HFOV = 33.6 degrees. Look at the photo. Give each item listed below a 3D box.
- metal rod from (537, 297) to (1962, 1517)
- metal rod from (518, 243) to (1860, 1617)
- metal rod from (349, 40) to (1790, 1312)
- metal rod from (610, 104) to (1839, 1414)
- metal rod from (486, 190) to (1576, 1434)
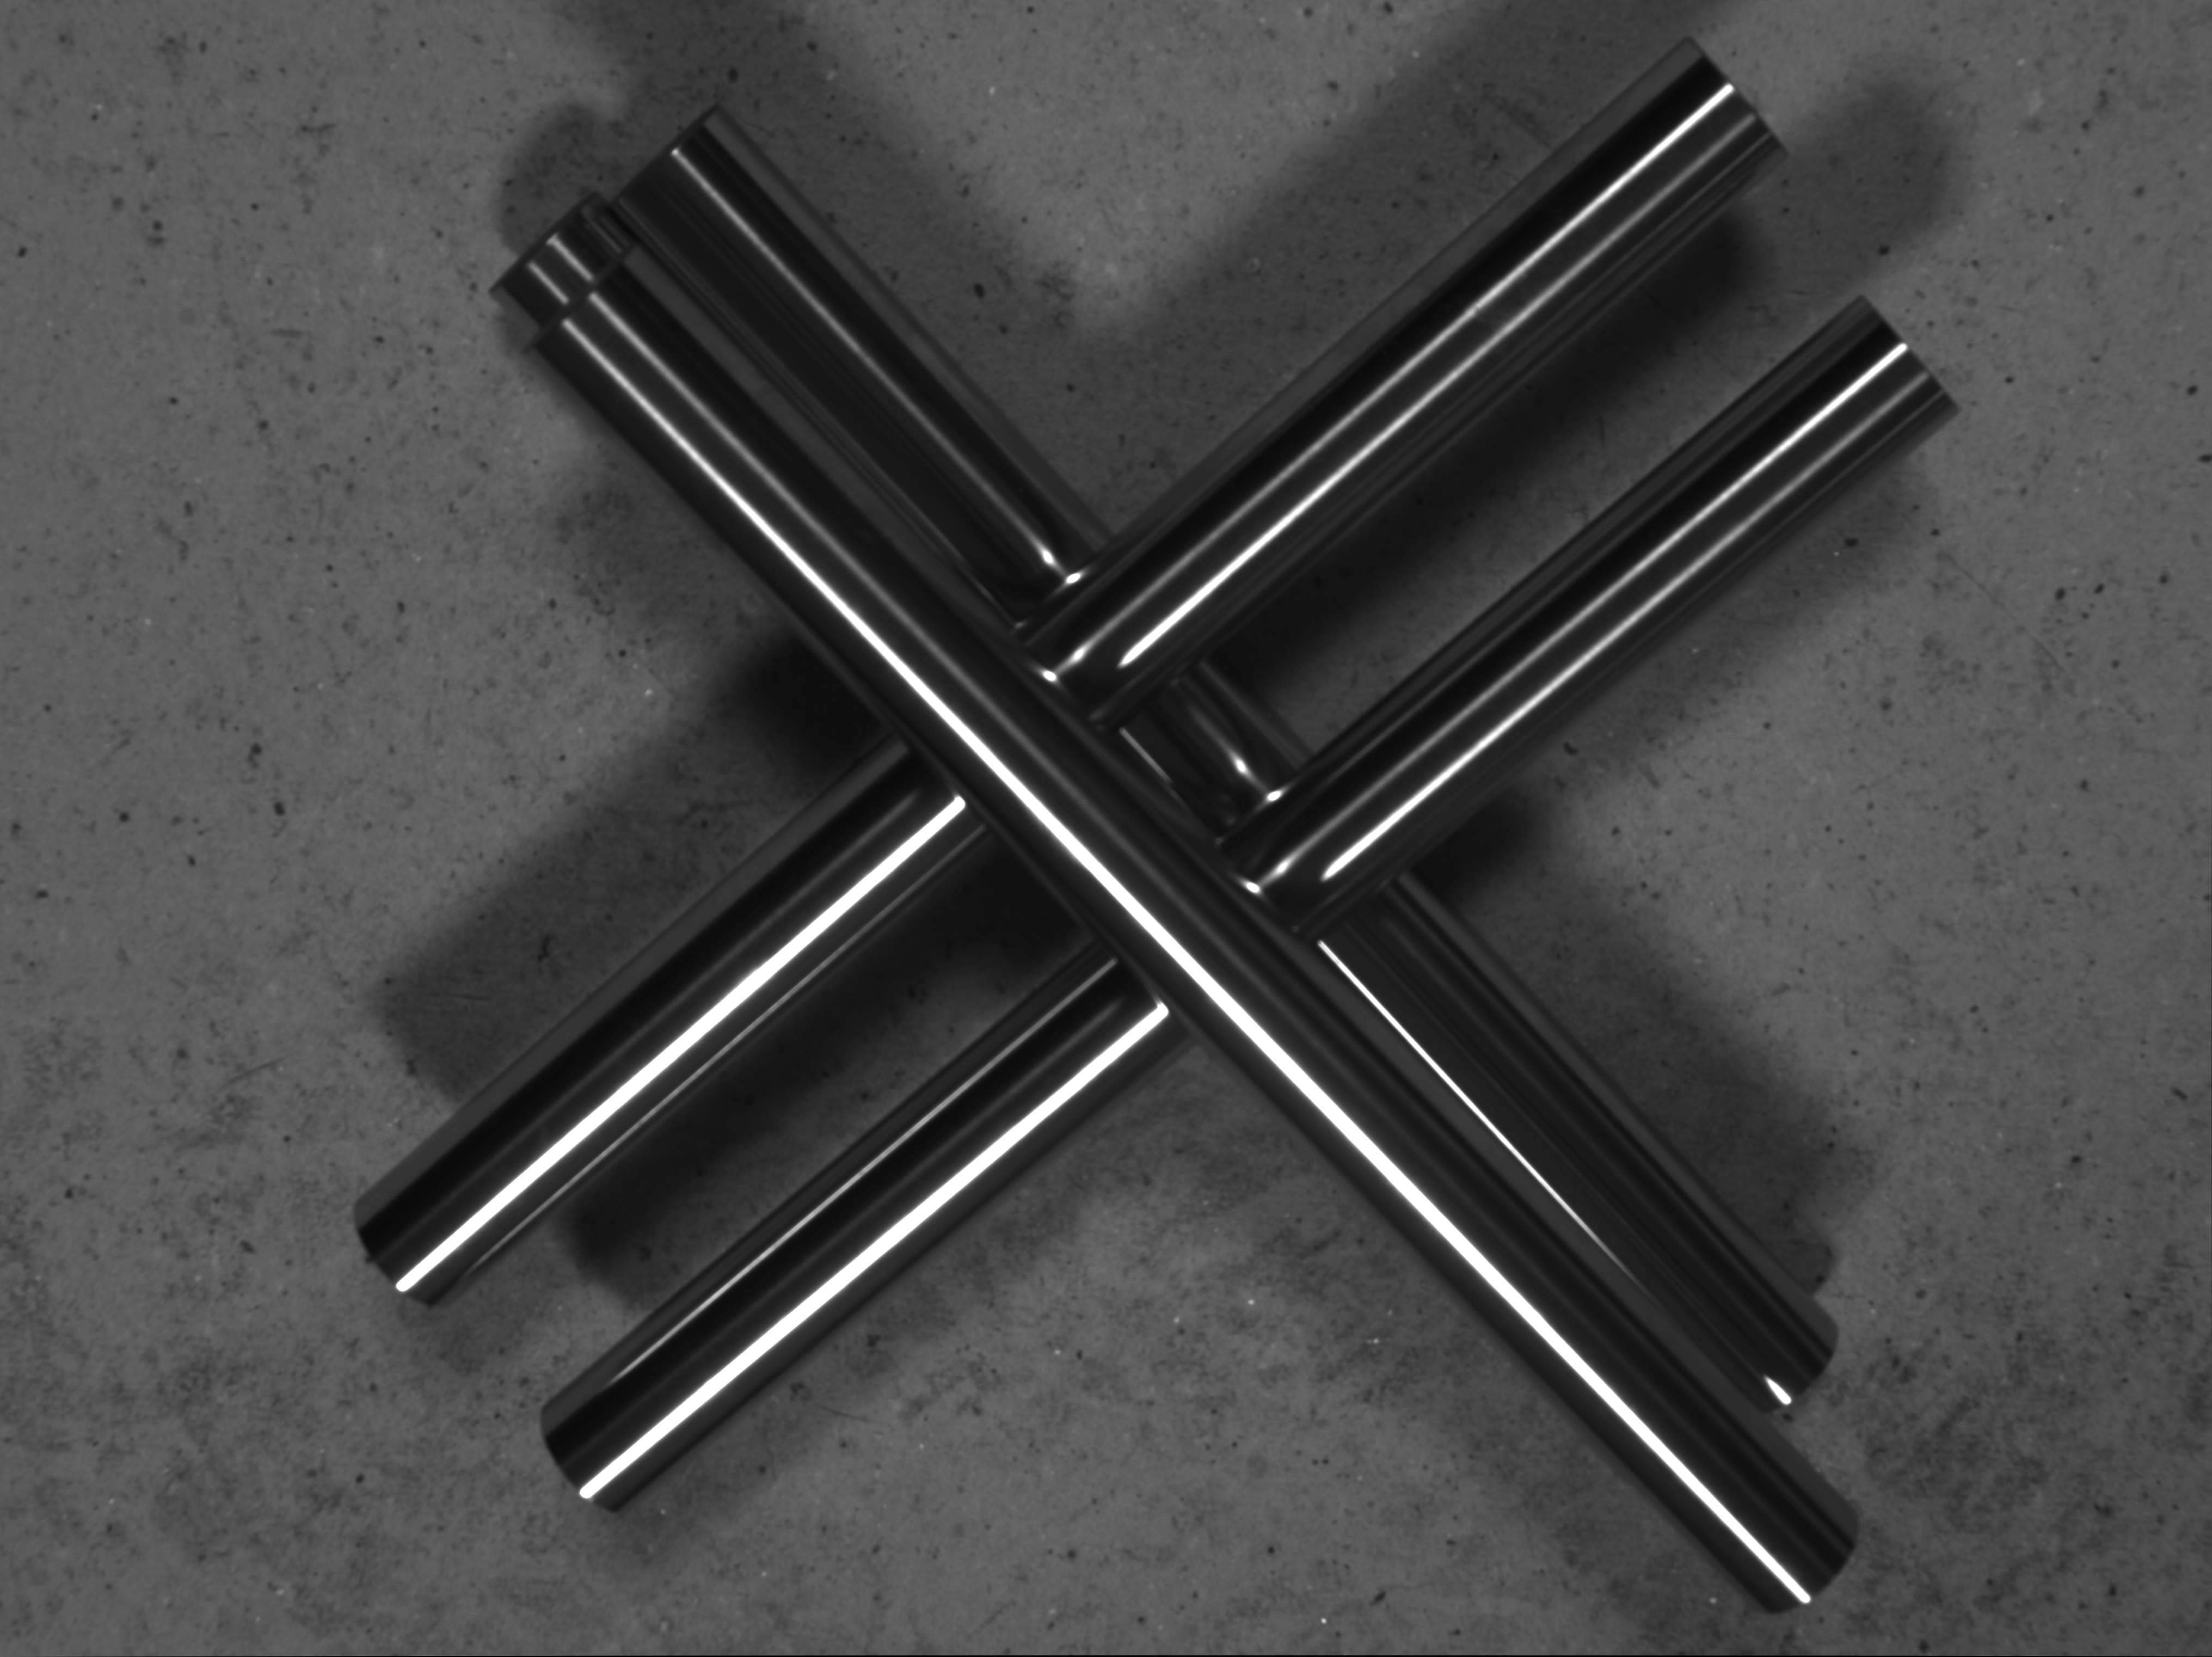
[{"bbox_3d":[0.019,0.018,0.623,0.300,0.025,0.025,-40,105,13],"label":"metal rod"},{"bbox_3d":[0.020,0.023,0.598,0.025,0.025,0.300,-41,105,13],"label":"metal rod"},{"bbox_3d":[-0.012,-0.020,0.609,0.300,0.025,0.025,-40,105,13],"label":"metal rod"},{"bbox_3d":[0.027,-0.005,0.641,0.025,0.025,0.300,-40,106,13],"label":"metal rod"},{"bbox_3d":[0.006,0.008,0.646,0.025,0.025,0.300,-40,106,13],"label":"metal rod"}]
